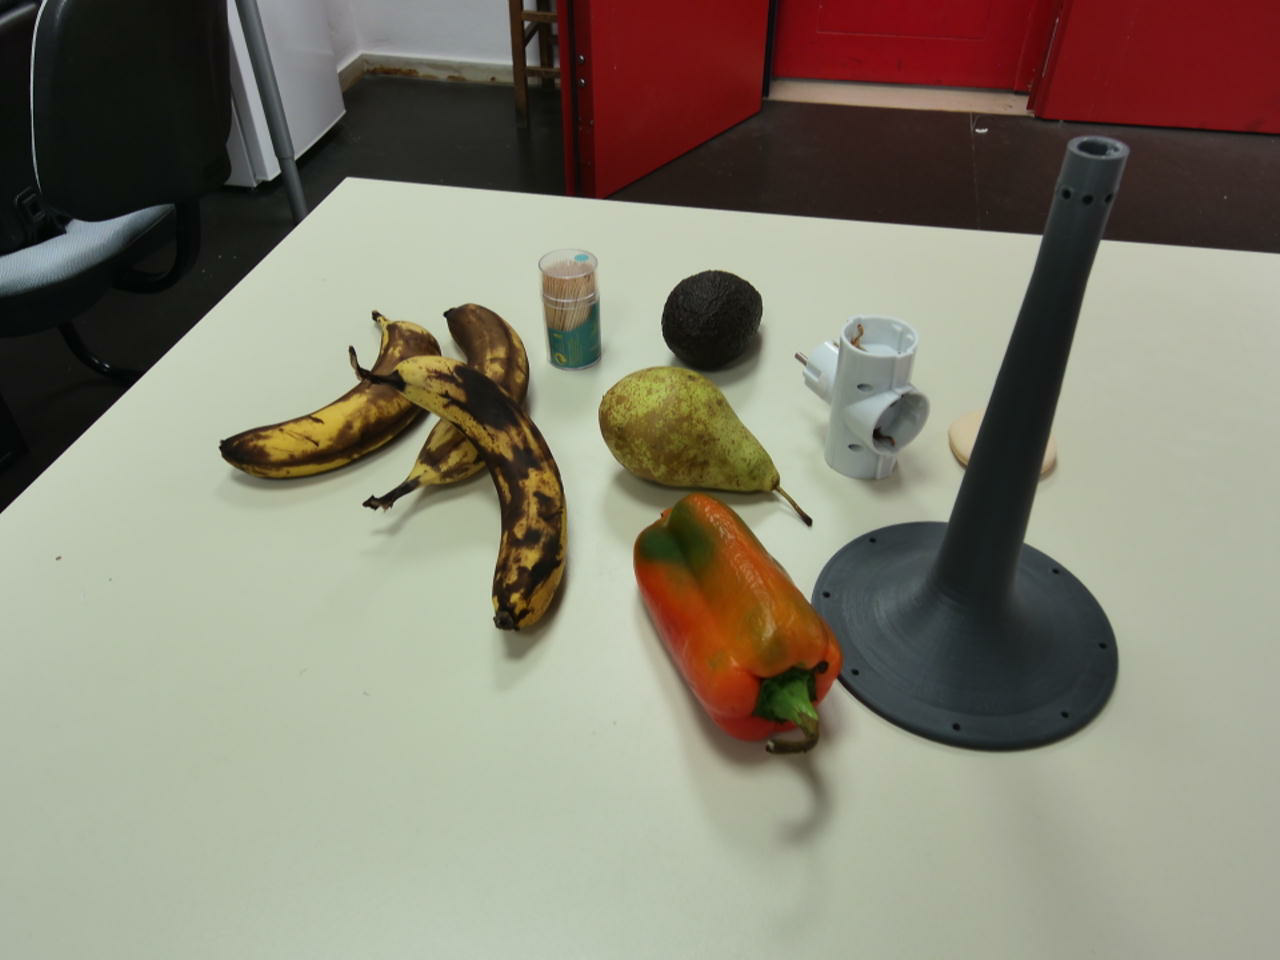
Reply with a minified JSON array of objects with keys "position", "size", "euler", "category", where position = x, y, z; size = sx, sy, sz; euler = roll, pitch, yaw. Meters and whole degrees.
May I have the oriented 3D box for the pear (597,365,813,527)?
[{"position":[0.039,-0.029,0.590],"size":[0.128,0.075,0.071],"euler":[4,39,4],"category":"pear"}]
